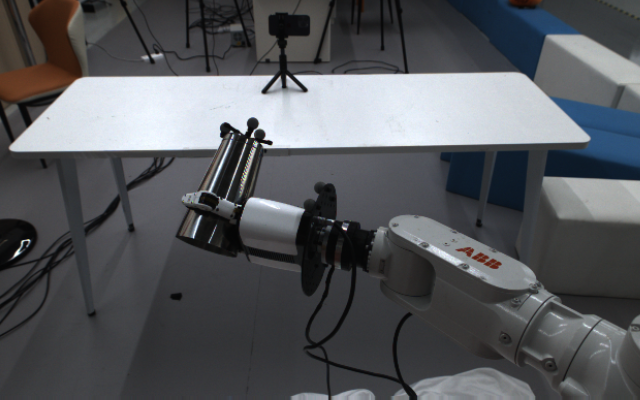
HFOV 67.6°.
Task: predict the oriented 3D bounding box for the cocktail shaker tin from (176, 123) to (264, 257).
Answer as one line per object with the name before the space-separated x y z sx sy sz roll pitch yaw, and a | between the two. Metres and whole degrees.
cocktail shaker tin | -0.143 -0.010 0.720 0.093 0.093 0.170 13 72 16
